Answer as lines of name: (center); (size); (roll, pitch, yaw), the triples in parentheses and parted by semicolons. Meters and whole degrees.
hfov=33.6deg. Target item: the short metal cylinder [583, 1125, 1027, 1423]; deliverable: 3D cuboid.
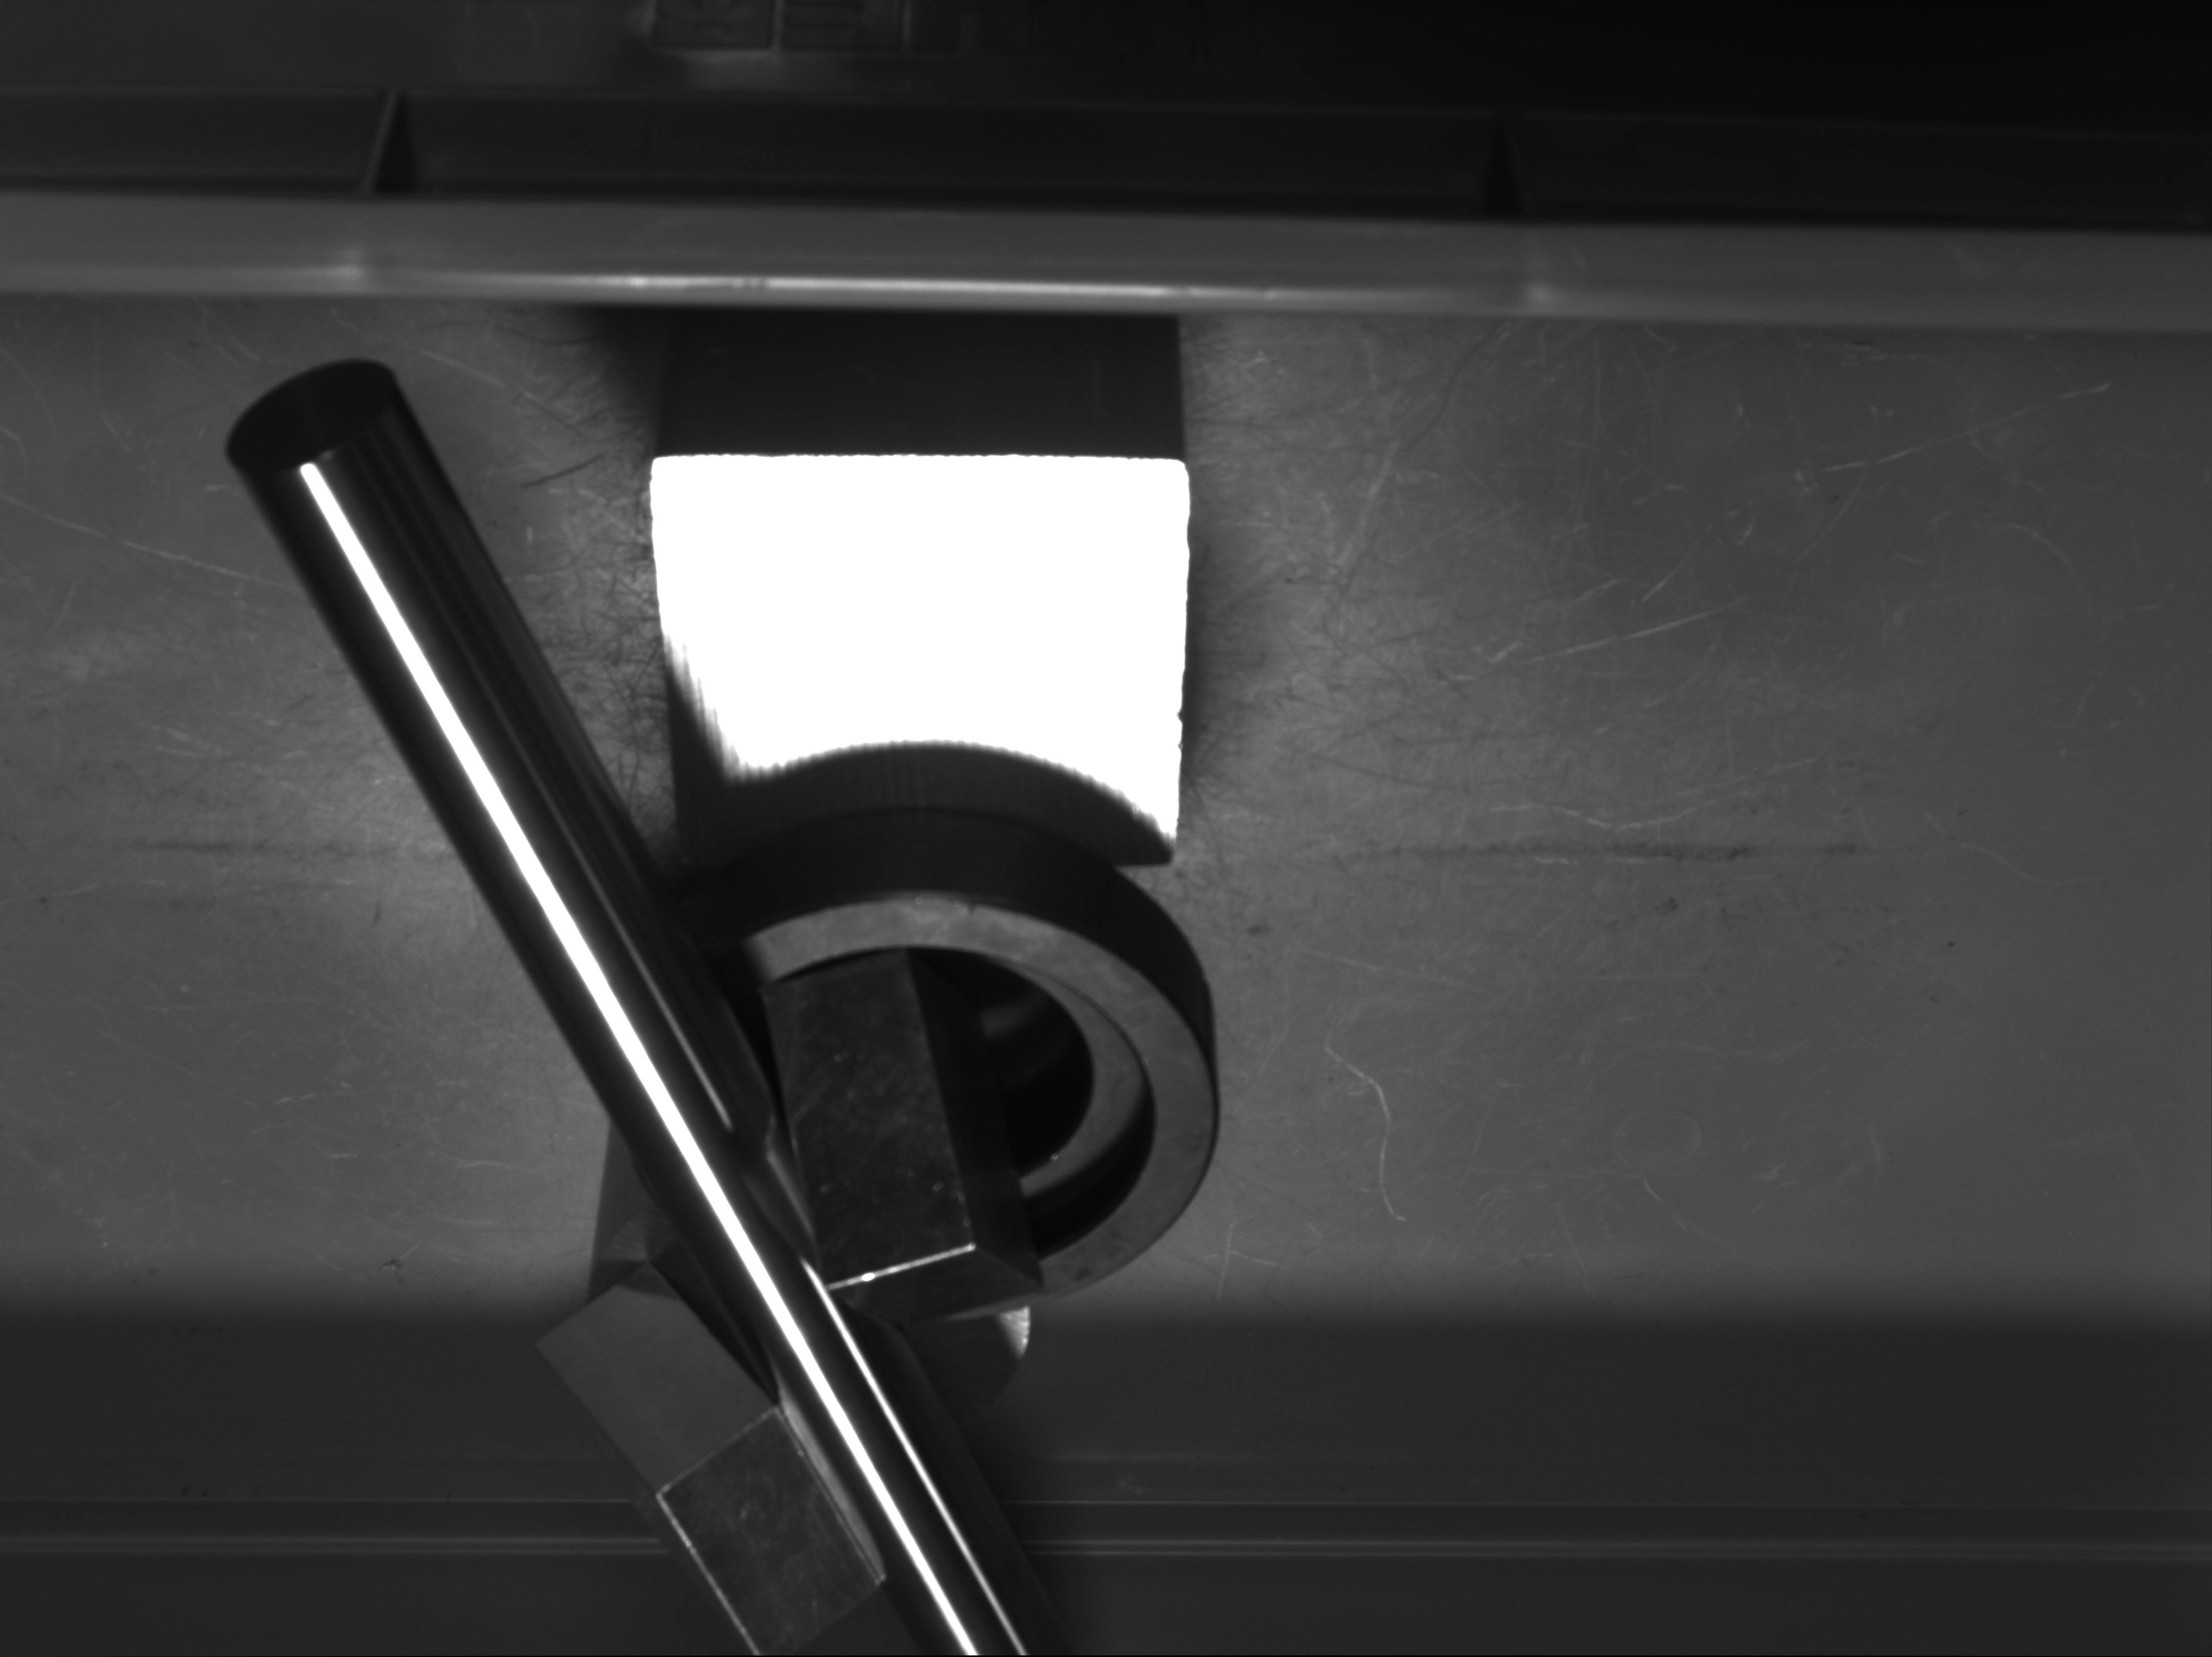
short metal cylinder: (-0.055, 0.072, 0.680); (0.080, 0.050, 0.080); (-1, 130, -1)

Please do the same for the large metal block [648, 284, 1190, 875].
large metal block: (-0.029, -0.039, 0.585); (0.080, 0.050, 0.080); (0, 130, -2)

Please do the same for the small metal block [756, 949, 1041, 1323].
small metal block: (-0.034, 0.051, 0.600); (0.025, 0.050, 0.050); (-16, 163, 8)

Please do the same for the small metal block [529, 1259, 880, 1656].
small metal block: (-0.071, 0.112, 0.644); (0.025, 0.050, 0.050); (-35, 129, -16)

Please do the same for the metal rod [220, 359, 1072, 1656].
metal rod: (-0.062, 0.053, 0.588); (0.025, 0.025, 0.300); (-15, 129, 10)

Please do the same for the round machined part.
round machined part: (-0.031, 0.034, 0.616); (0.098, 0.042, 0.098); (-1, 130, -1)
